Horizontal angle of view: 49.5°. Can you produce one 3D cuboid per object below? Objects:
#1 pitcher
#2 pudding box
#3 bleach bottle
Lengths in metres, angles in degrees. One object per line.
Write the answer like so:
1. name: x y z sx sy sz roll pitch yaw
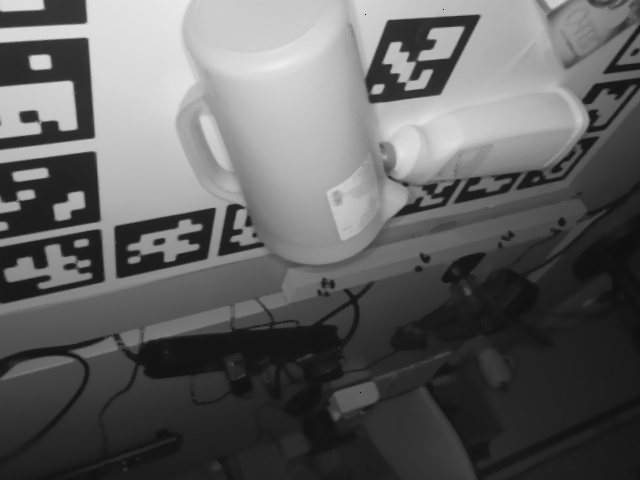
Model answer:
1. pitcher: -0.020 -0.107 0.565 0.187 0.134 0.242 4 150 18
2. pudding box: 0.277 -0.226 0.649 0.089 0.039 0.115 -30 149 19
3. bleach bottle: 0.192 -0.108 0.757 0.254 0.068 0.101 -12 143 -19
